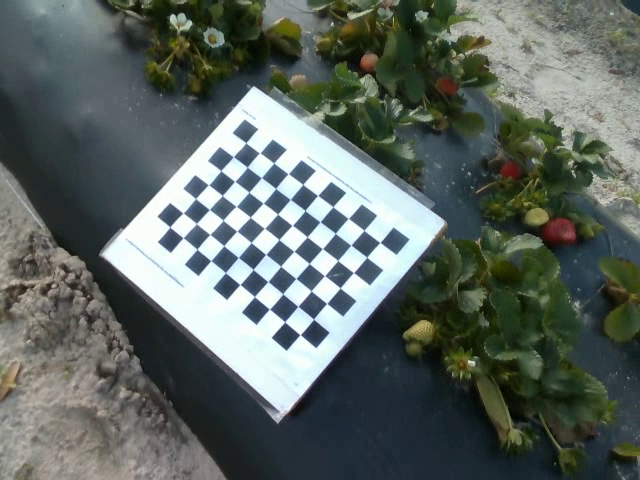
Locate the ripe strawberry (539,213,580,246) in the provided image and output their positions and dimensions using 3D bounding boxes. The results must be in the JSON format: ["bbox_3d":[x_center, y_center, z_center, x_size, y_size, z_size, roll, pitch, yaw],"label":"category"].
[{"bbox_3d":[0.357,-0.008,0.951,0.051,0.048,0.055,-18,19,4],"label":"ripe strawberry"}]
